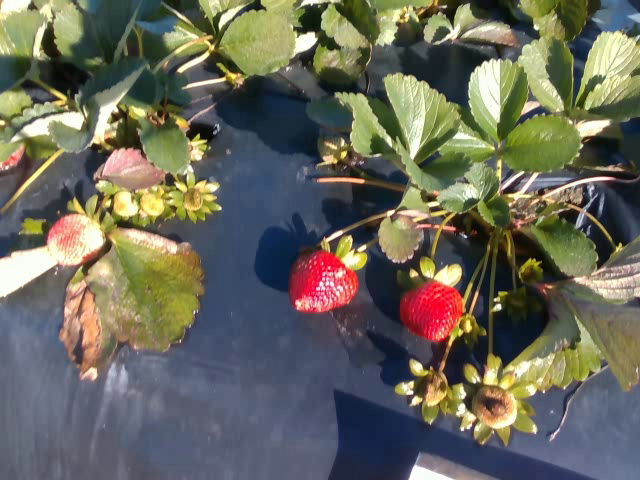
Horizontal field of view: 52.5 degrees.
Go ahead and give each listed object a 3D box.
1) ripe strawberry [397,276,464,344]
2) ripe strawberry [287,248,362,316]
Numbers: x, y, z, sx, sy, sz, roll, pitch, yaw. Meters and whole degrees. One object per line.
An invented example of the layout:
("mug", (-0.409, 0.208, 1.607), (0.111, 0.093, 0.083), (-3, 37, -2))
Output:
("ripe strawberry", (0.066, 0.044, 0.369), (0.042, 0.039, 0.049), (-30, 18, 18))
("ripe strawberry", (-0.003, 0.027, 0.387), (0.050, 0.045, 0.050), (34, 33, 14))
